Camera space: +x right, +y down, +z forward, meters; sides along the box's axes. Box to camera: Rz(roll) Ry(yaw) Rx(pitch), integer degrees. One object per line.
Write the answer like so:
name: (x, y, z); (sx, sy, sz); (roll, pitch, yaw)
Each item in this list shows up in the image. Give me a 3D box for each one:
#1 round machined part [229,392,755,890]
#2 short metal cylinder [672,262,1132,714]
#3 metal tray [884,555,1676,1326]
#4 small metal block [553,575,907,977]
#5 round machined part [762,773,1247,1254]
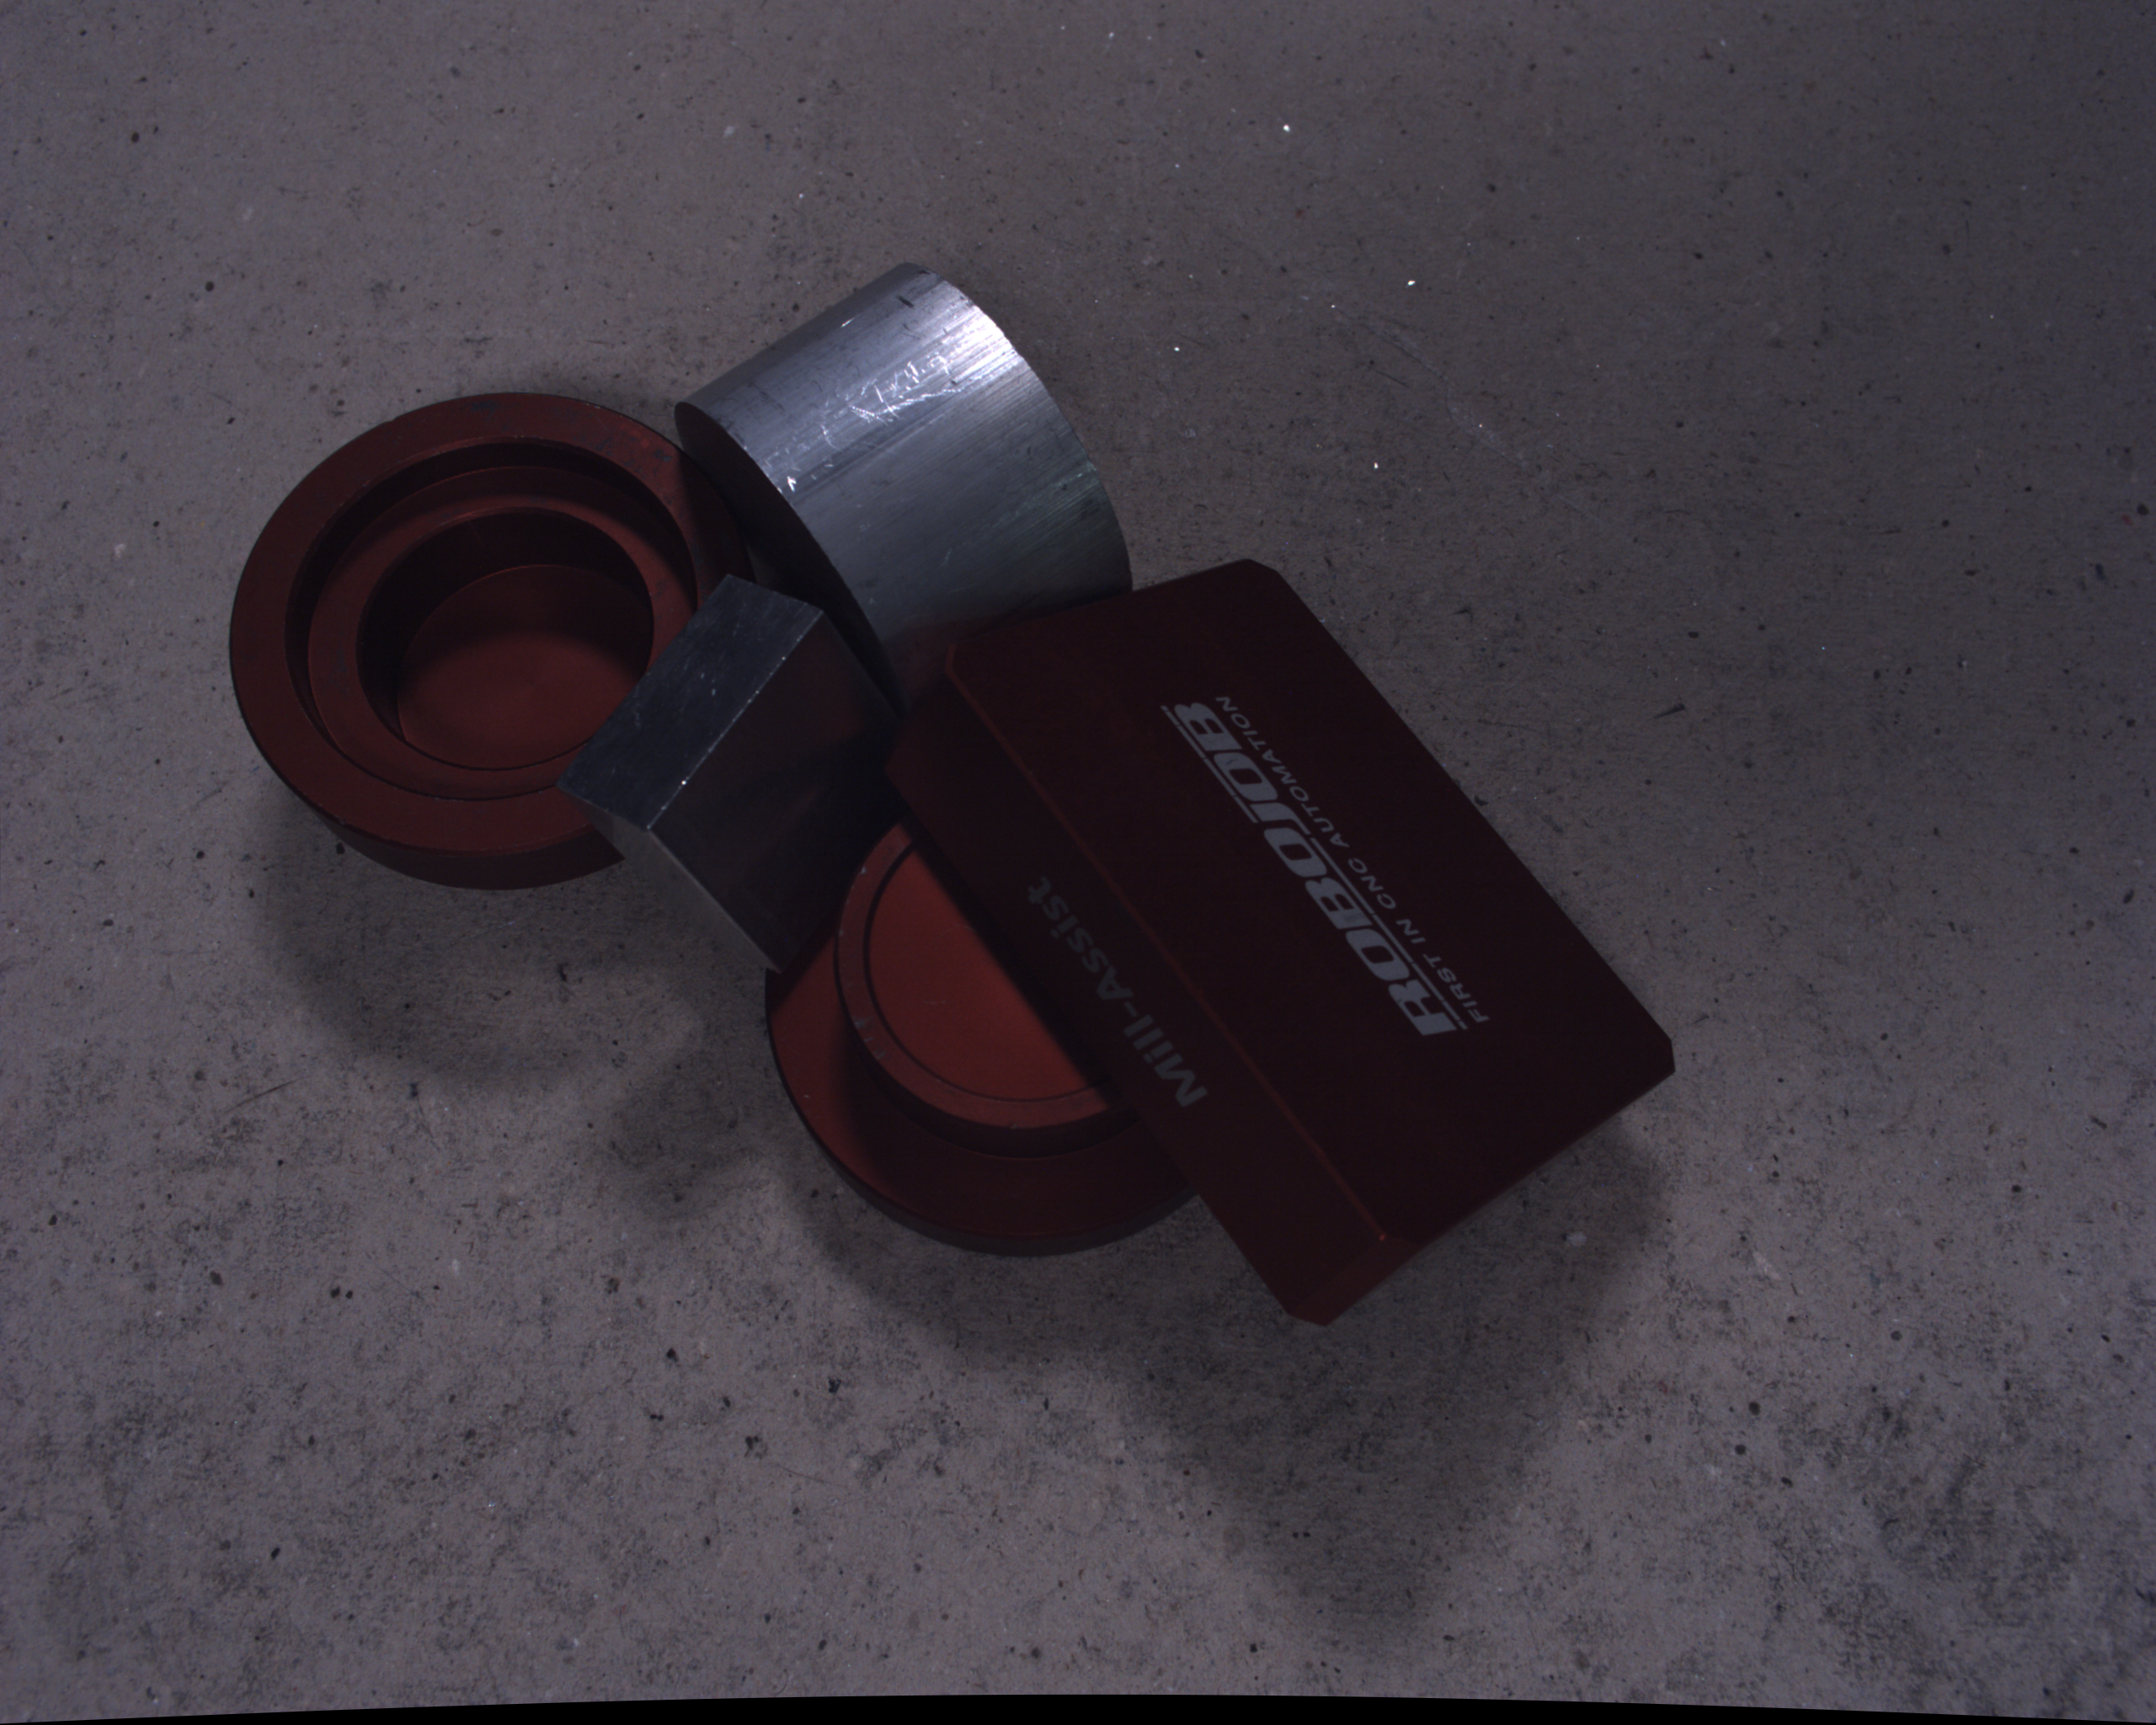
round machined part: (-0.111, -0.040, 0.414); (0.099, 0.042, 0.098); (0, 70, -1)
short metal cylinder: (-0.034, -0.068, 0.405); (0.050, 0.080, 0.080); (-36, 74, -12)
metal tray: (0.037, 0.008, 0.381); (0.091, 0.030, 0.130); (-22, 68, -42)
small metal block: (-0.059, -0.015, 0.382); (0.025, 0.050, 0.050); (23, 69, 34)
round machined part: (-0.010, 0.022, 0.392); (0.099, 0.042, 0.098); (0, 70, -1)
